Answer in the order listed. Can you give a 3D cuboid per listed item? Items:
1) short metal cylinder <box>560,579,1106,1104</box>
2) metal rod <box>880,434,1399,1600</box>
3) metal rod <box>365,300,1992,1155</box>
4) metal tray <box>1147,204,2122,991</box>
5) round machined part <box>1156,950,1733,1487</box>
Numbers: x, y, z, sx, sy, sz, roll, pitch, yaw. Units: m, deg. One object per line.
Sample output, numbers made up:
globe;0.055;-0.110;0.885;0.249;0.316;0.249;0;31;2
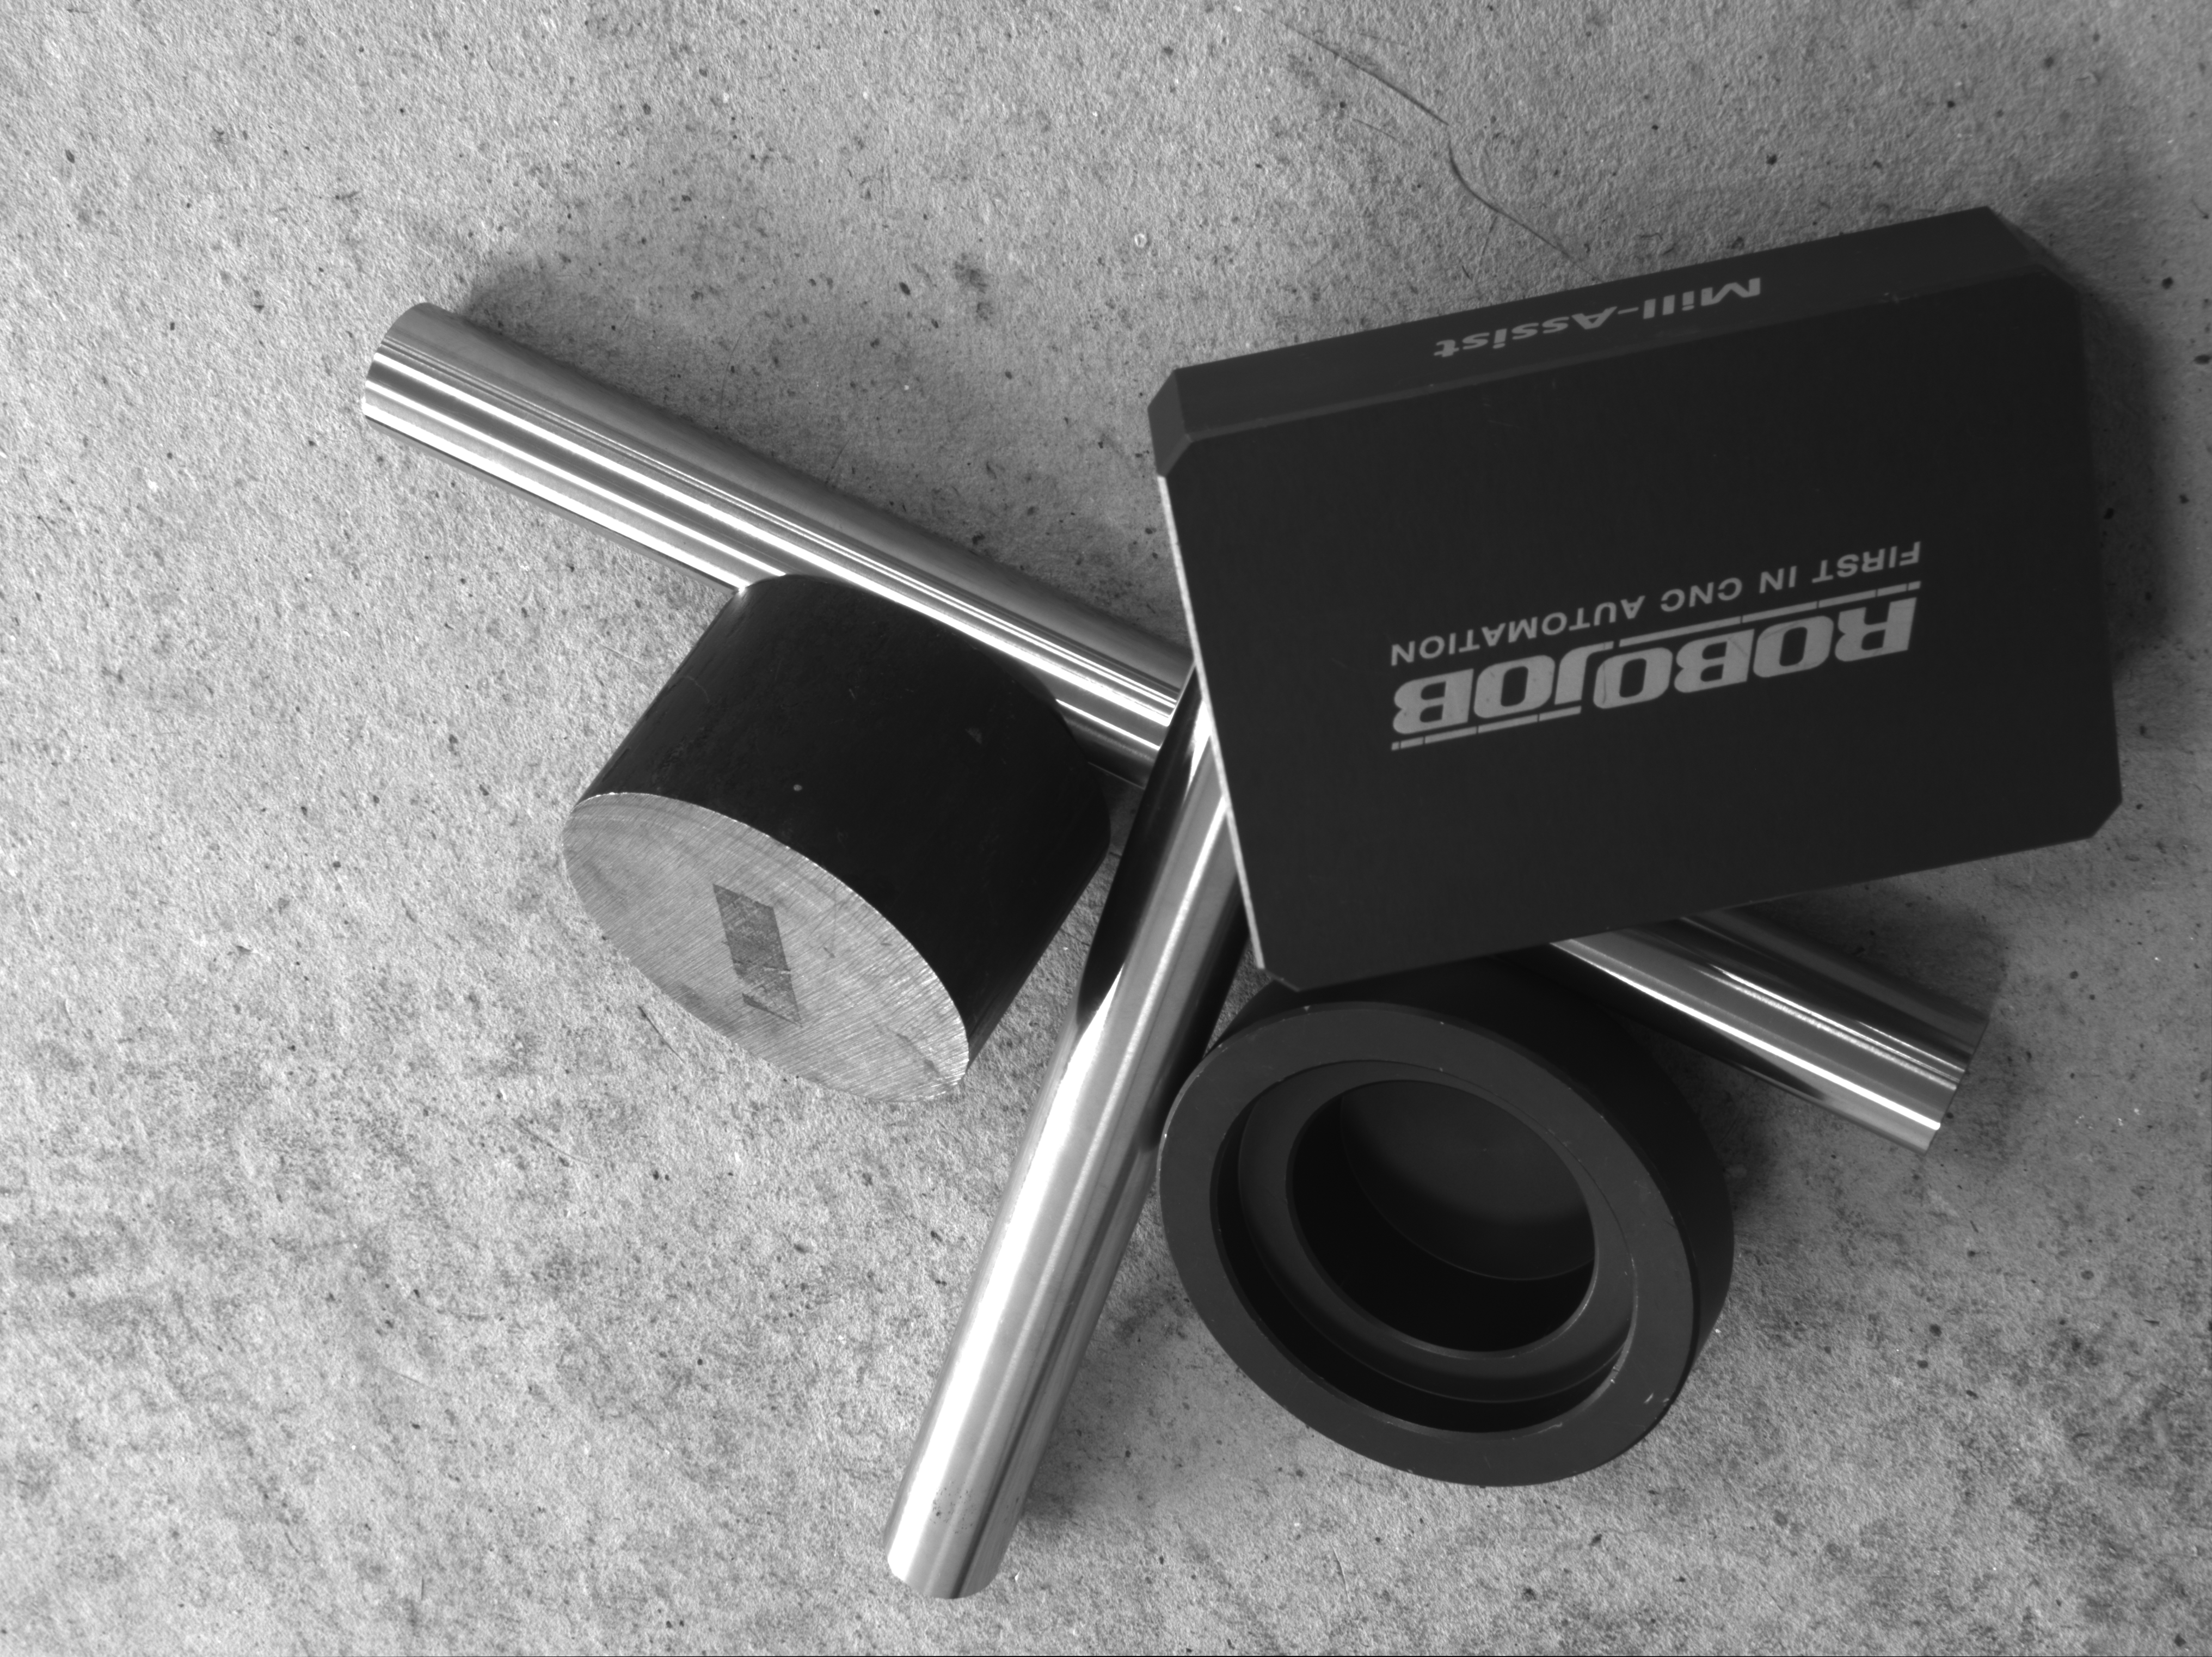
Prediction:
short metal cylinder;-0.047;0.003;0.637;0.080;0.050;0.080;25;151;15
metal rod;0.001;0.045;0.647;0.025;0.025;0.300;29;135;10
metal rod;0.006;-0.021;0.628;0.300;0.025;0.025;25;127;13
metal tray;0.078;-0.033;0.541;0.130;0.030;0.090;-11;116;2
round machined part;0.062;0.062;0.637;0.098;0.042;0.098;13;124;21
